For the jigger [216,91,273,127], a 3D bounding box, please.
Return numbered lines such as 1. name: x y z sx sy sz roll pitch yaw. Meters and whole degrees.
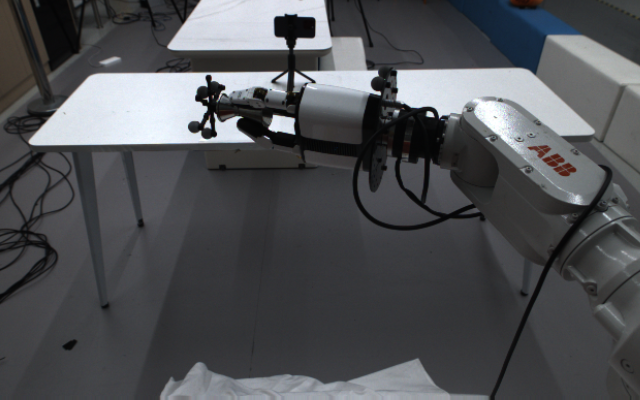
1. jigger: -0.102 -0.130 0.671 0.071 0.043 0.043 6 35 13
